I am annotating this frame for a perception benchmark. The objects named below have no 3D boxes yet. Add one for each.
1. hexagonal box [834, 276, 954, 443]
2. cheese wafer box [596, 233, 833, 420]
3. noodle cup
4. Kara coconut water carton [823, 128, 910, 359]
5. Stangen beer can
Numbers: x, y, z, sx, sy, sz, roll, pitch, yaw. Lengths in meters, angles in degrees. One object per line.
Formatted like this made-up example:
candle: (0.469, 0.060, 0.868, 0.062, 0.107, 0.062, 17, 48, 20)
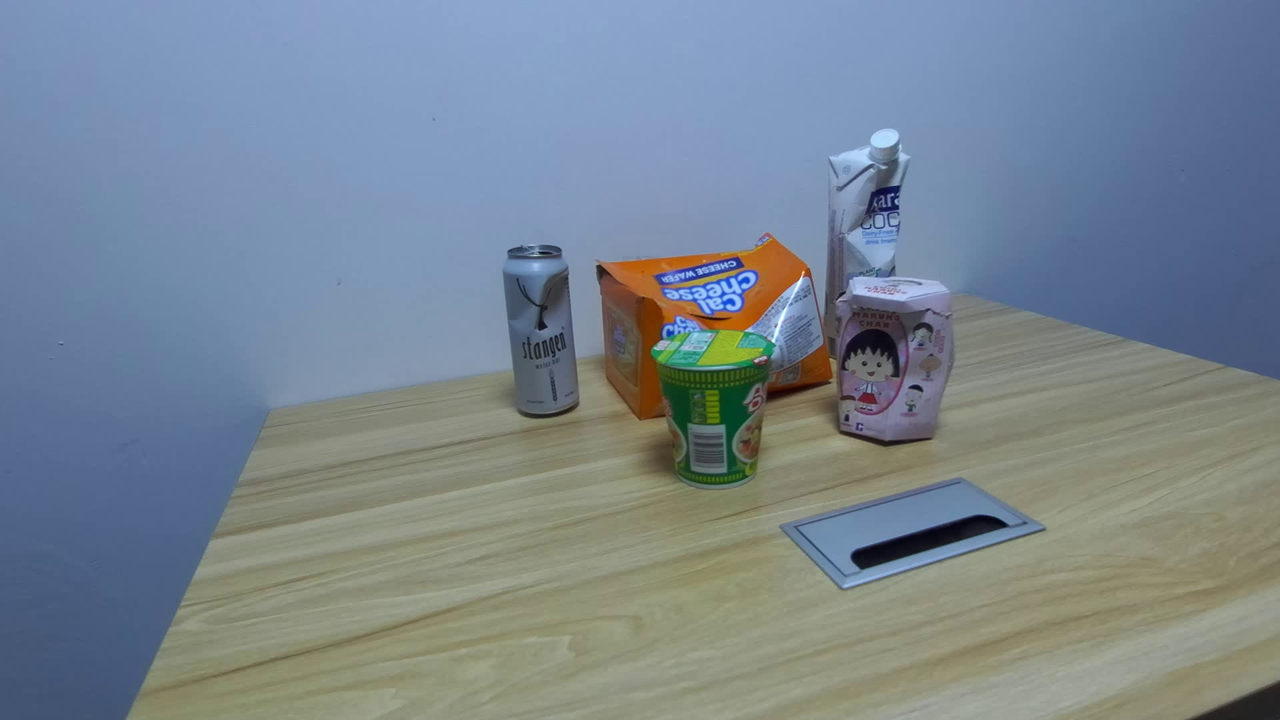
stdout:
hexagonal box: (0.225, -0.002, 0.635, 0.090, 0.134, 0.091, -3, 18, -7)
cheese wafer box: (0.083, -0.041, 0.759, 0.219, 0.145, 0.190, -9, 20, -17)
noodle cup: (0.059, 0.041, 0.570, 0.097, 0.110, 0.097, -3, 18, 1)
Kara coconut water carton: (0.252, -0.125, 0.798, 0.083, 0.255, 0.078, -9, 21, -18)
Stangen beer can: (-0.099, -0.030, 0.720, 0.070, 0.173, 0.069, -9, 18, -16)
